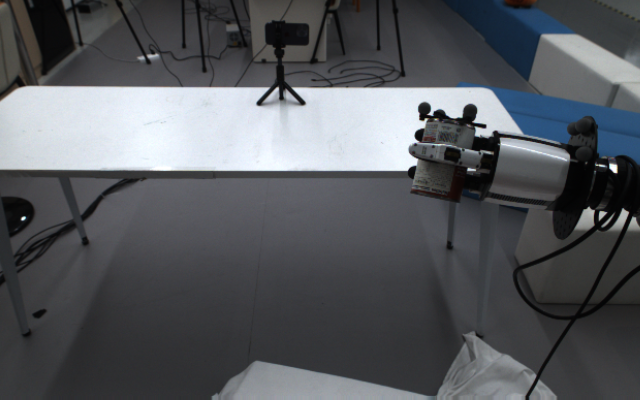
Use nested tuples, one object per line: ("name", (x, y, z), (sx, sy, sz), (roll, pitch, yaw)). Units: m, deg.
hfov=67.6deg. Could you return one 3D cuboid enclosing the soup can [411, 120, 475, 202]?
("soup can", (0.166, -0.053, 0.653), (0.067, 0.101, 0.067), (11, 2, 0))
